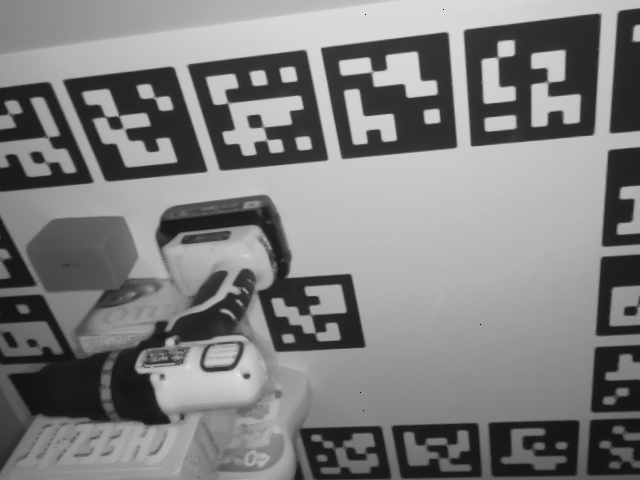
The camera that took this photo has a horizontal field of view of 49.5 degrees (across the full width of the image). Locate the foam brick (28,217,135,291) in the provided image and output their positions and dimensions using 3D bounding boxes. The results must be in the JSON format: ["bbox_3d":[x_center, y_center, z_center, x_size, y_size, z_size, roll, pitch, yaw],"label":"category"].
[{"bbox_3d":[-0.230,0.013,0.675,0.078,0.052,0.052,-3,120,9],"label":"foam brick"}]

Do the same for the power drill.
[{"bbox_3d":[-0.125,0.060,0.570,0.183,0.189,0.057,-5,124,11],"label":"power drill"}]

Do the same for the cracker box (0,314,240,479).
[{"bbox_3d":[-0.172,0.150,0.650,0.163,0.215,0.071,-7,123,9],"label":"cracker box"}]

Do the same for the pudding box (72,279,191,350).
[{"bbox_3d":[-0.166,0.080,0.670,0.113,0.091,0.038,-5,123,7],"label":"pudding box"}]

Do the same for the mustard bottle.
[{"bbox_3d":[-0.069,0.225,0.693,0.096,0.193,0.058,7,122,3],"label":"mustard bottle"}]
